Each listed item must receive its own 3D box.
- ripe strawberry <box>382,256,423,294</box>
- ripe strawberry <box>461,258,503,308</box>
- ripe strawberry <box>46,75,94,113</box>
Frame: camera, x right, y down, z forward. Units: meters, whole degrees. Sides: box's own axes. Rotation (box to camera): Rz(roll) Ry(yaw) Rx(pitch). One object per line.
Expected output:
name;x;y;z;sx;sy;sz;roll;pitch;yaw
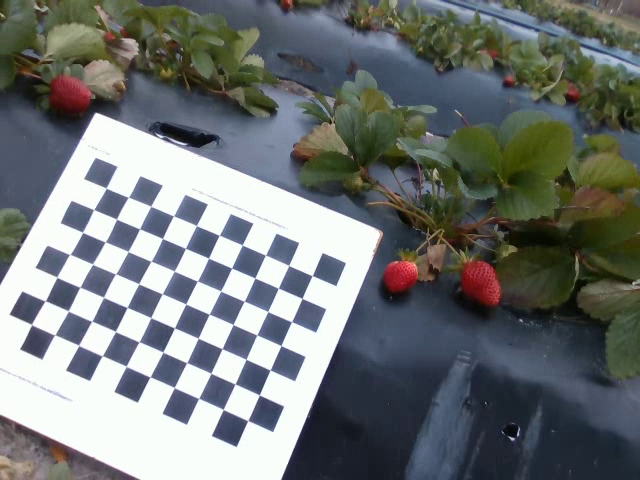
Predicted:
ripe strawberry;0.076;0.033;0.586;0.036;0.041;0.028;19;-33;15
ripe strawberry;0.156;0.041;0.597;0.044;0.059;0.042;-27;-37;4
ripe strawberry;-0.275;-0.165;0.695;0.064;0.046;0.048;22;-9;40
